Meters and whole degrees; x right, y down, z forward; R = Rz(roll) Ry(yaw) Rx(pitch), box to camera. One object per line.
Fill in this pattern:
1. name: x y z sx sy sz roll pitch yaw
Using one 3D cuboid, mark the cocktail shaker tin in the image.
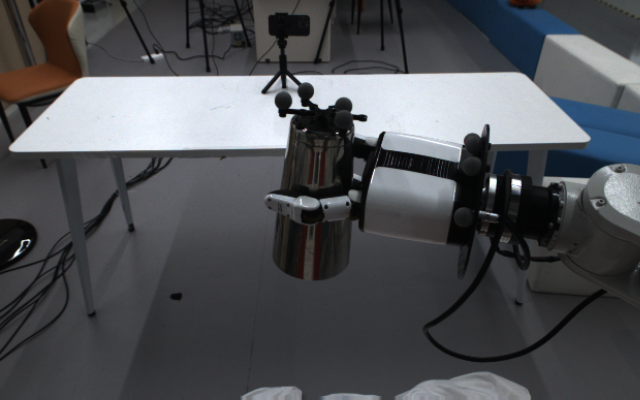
1. cocktail shaker tin: -0.003 -0.007 0.532 0.093 0.170 0.093 4 32 -2
